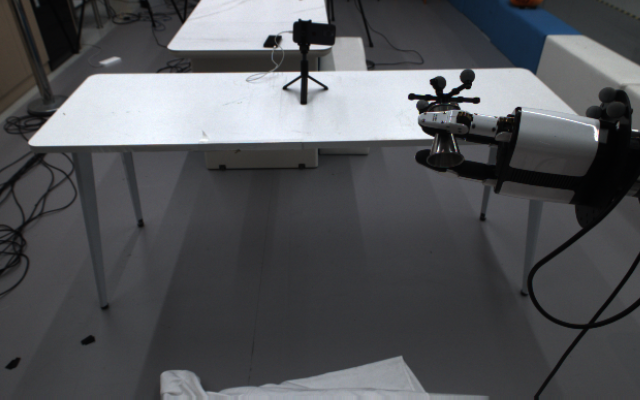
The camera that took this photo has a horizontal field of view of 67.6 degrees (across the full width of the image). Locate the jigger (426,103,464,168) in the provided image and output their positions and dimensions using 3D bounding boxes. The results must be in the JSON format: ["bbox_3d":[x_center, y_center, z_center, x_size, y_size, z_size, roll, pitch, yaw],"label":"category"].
[{"bbox_3d":[0.152,-0.080,0.596,0.043,0.043,0.071,3,71,1],"label":"jigger"}]
